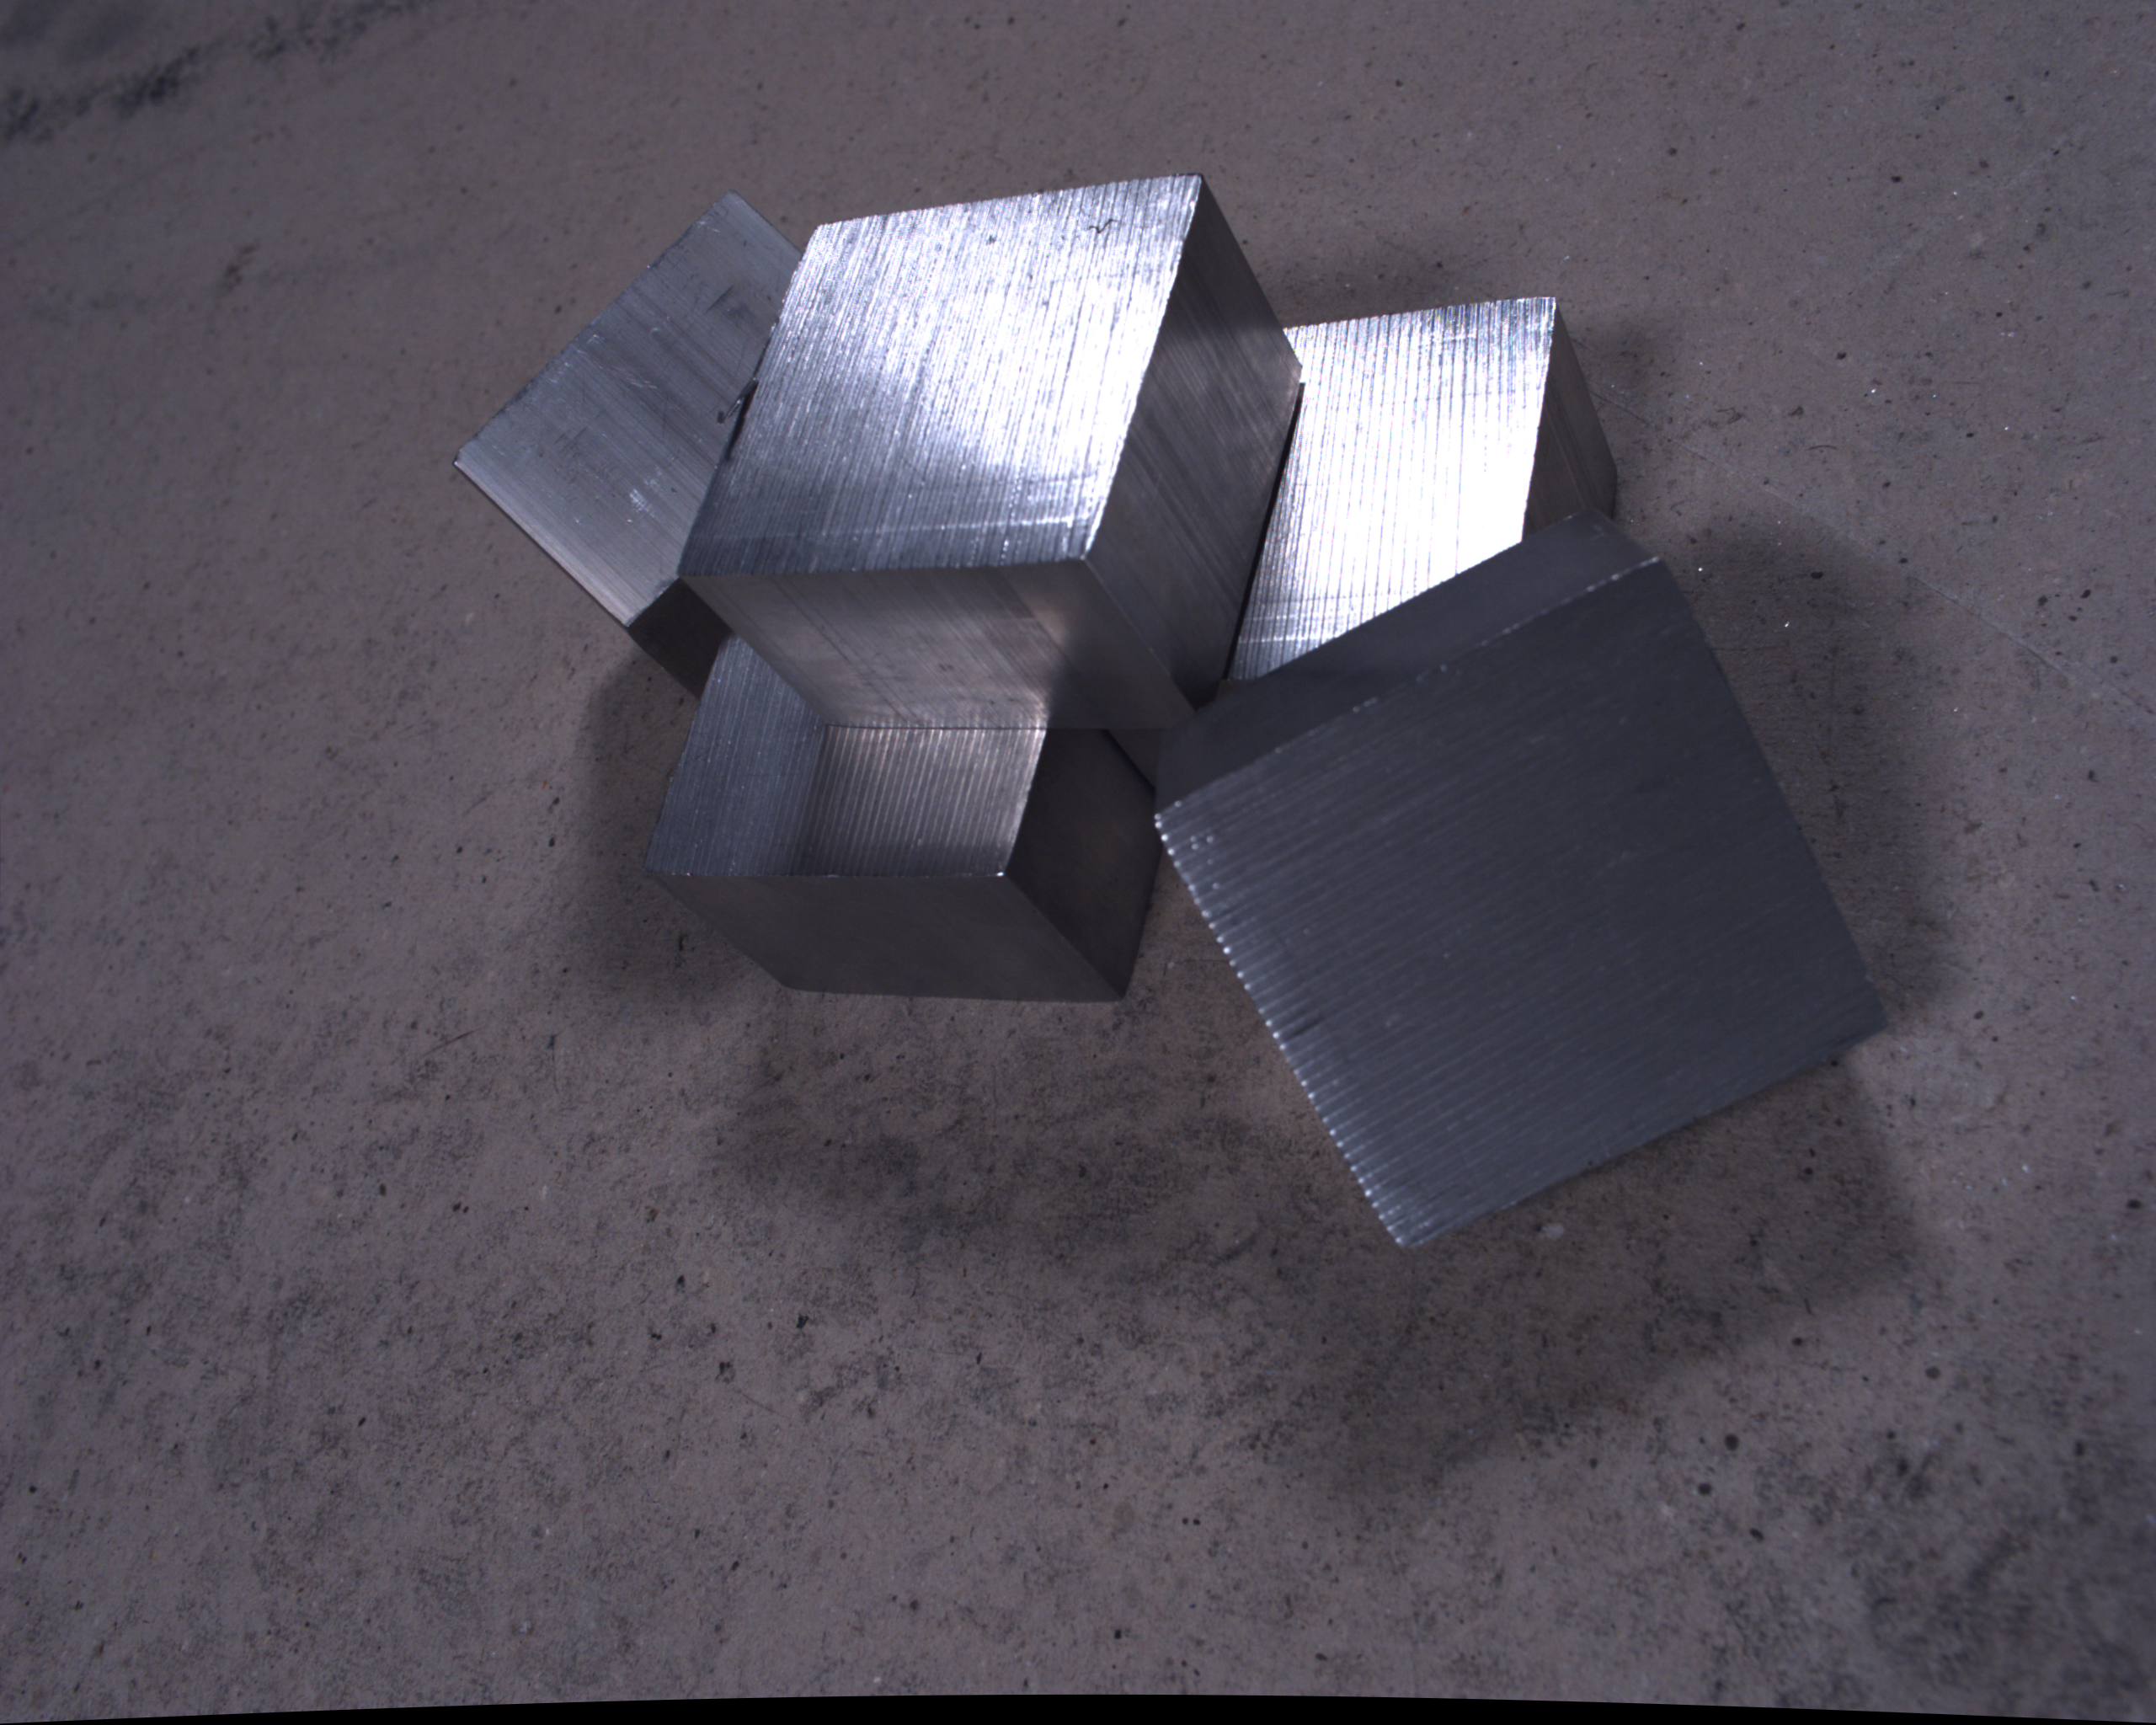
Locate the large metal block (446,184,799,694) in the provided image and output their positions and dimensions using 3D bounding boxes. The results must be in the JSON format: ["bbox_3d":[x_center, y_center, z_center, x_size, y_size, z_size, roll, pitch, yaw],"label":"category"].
[{"bbox_3d":[-0.078,-0.086,0.453,0.050,0.080,0.080,44,86,6],"label":"large metal block"}]

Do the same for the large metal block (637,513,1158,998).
[{"bbox_3d":[-0.029,-0.021,0.413,0.080,0.050,0.080,0,62,28],"label":"large metal block"}]

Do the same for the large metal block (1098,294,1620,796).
[{"bbox_3d":[0.052,-0.056,0.396,0.080,0.050,0.080,0,62,28],"label":"large metal block"}]

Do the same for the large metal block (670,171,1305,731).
[{"bbox_3d":[-0.014,-0.070,0.371,0.080,0.050,0.080,2,63,29],"label":"large metal block"}]

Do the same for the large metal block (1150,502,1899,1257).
[{"bbox_3d":[0.066,0.001,0.325,0.080,0.080,0.050,-27,15,10],"label":"large metal block"}]
